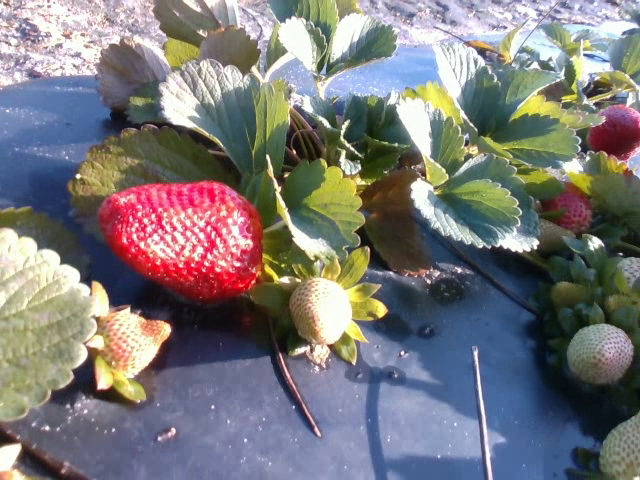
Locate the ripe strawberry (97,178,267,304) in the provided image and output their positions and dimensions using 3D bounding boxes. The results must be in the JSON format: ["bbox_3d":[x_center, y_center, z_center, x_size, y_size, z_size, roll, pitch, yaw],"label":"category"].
[{"bbox_3d":[-0.052,-0.004,0.226,0.057,0.055,0.072,-14,-3,31],"label":"ripe strawberry"}]
